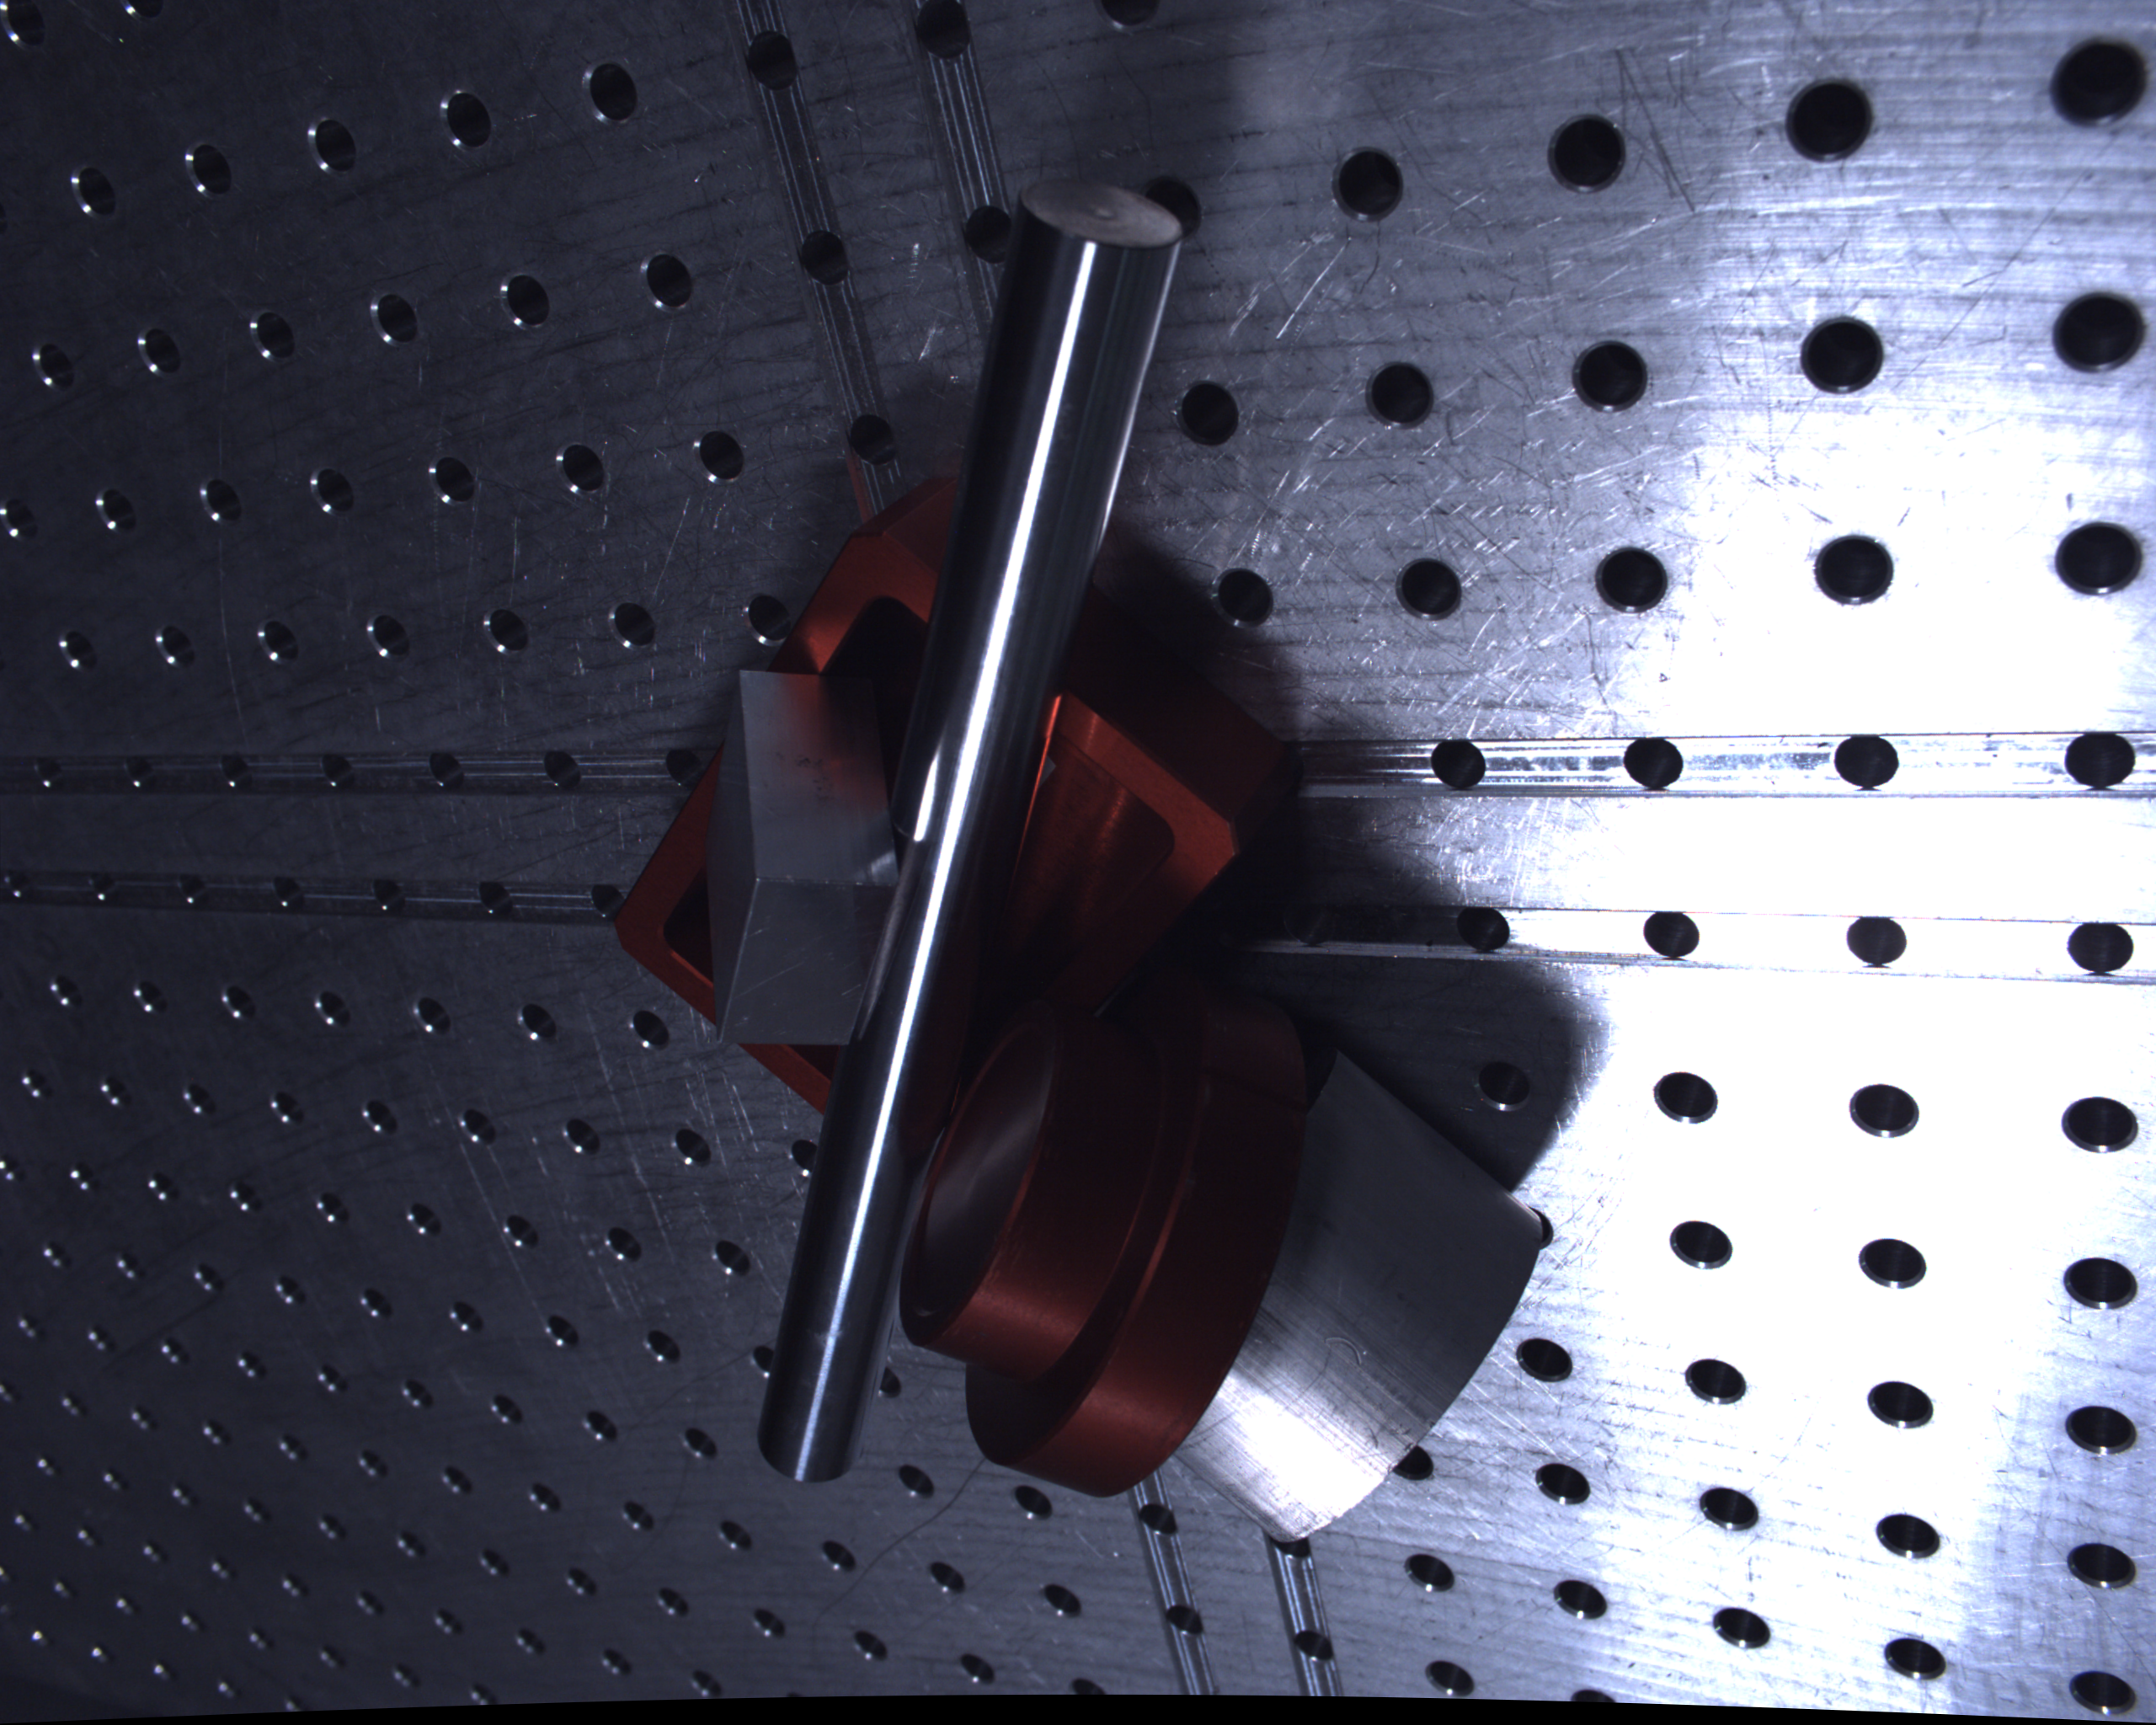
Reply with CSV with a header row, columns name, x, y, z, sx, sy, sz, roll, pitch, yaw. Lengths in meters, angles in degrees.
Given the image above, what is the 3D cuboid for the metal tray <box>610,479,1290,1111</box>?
name,x,y,z,sx,sy,sz,roll,pitch,yaw
metal tray,-0.030,-0.001,0.421,0.090,0.030,0.129,40,129,0

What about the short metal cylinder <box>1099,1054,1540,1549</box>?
name,x,y,z,sx,sy,sz,roll,pitch,yaw
short metal cylinder,0.043,0.083,0.402,0.050,0.080,0.080,40,129,1

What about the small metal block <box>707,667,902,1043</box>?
name,x,y,z,sx,sy,sz,roll,pitch,yaw
small metal block,-0.053,-0.001,0.393,0.025,0.050,0.050,2,140,-18

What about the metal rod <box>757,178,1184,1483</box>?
name,x,y,z,sx,sy,sz,roll,pitch,yaw
metal rod,-0.030,0.019,0.398,0.025,0.025,0.298,25,127,12

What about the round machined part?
name,x,y,z,sx,sy,sz,roll,pitch,yaw
round machined part,-0.001,0.064,0.389,0.042,0.098,0.097,24,130,-14
